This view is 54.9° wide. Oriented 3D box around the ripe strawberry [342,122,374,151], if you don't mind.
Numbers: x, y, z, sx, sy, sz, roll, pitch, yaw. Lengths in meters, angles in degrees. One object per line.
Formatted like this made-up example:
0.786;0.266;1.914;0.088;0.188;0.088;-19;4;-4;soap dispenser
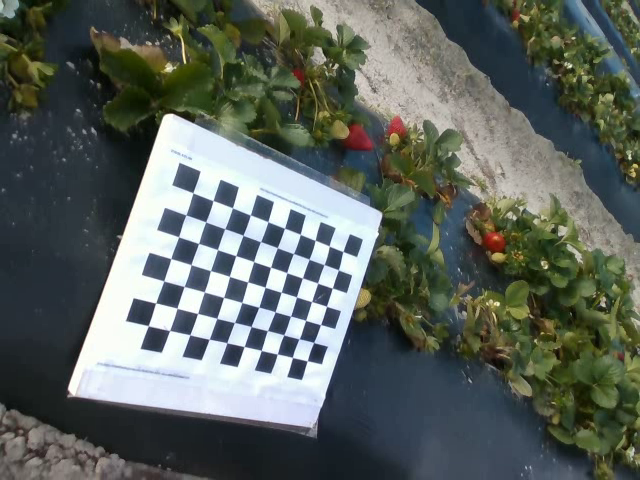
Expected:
0.070;-0.172;1.053;0.055;0.051;0.048;37;-25;23;ripe strawberry
